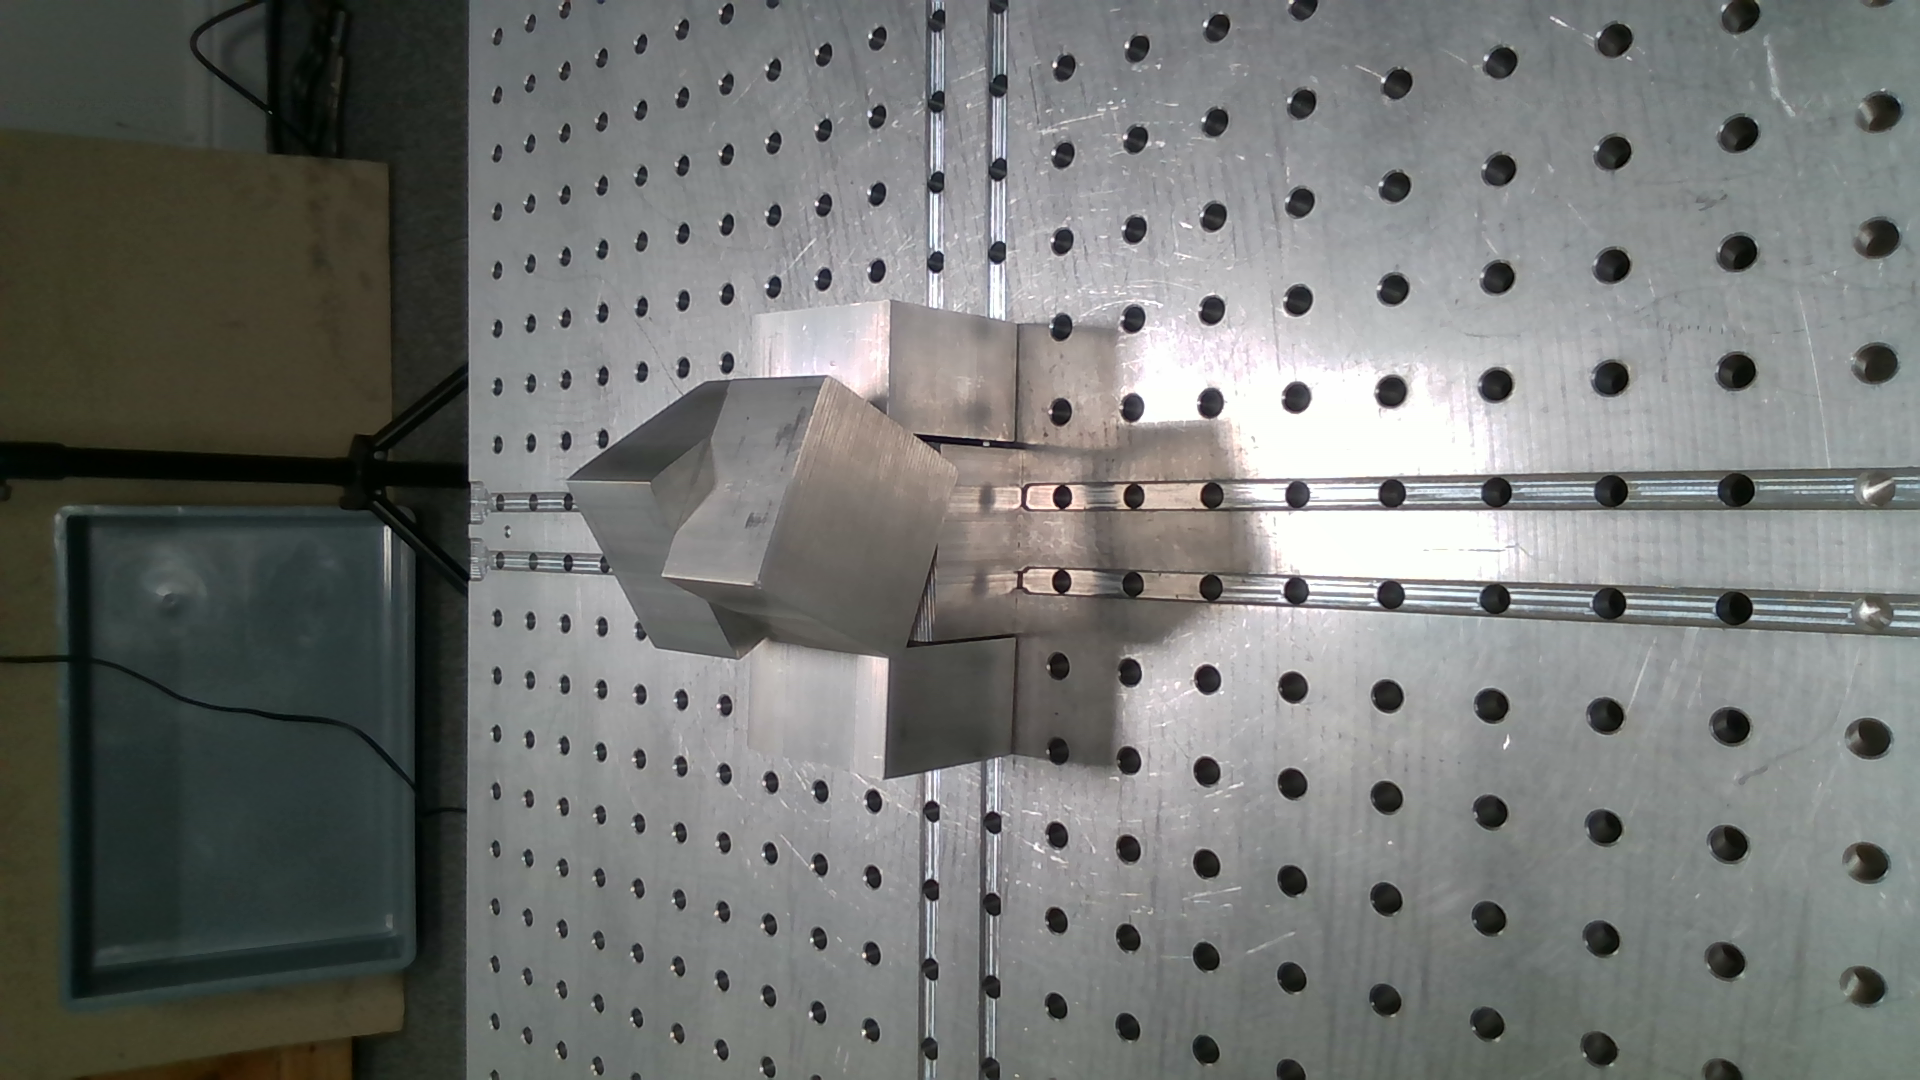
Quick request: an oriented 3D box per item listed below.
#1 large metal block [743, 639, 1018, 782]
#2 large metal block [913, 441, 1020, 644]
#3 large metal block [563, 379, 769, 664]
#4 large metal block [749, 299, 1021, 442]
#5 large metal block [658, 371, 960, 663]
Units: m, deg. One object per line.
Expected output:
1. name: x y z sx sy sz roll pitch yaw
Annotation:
1. large metal block: -0.033 0.064 0.577 0.080 0.080 0.050 5 93 40
2. large metal block: -0.023 -0.001 0.585 0.080 0.050 0.080 3 93 40
3. large metal block: -0.094 -0.010 0.541 0.050 0.080 0.080 4 126 40
4. large metal block: -0.031 -0.067 0.575 0.080 0.080 0.050 2 92 40
5. large metal block: -0.053 -0.007 0.511 0.050 0.080 0.080 4 70 40
